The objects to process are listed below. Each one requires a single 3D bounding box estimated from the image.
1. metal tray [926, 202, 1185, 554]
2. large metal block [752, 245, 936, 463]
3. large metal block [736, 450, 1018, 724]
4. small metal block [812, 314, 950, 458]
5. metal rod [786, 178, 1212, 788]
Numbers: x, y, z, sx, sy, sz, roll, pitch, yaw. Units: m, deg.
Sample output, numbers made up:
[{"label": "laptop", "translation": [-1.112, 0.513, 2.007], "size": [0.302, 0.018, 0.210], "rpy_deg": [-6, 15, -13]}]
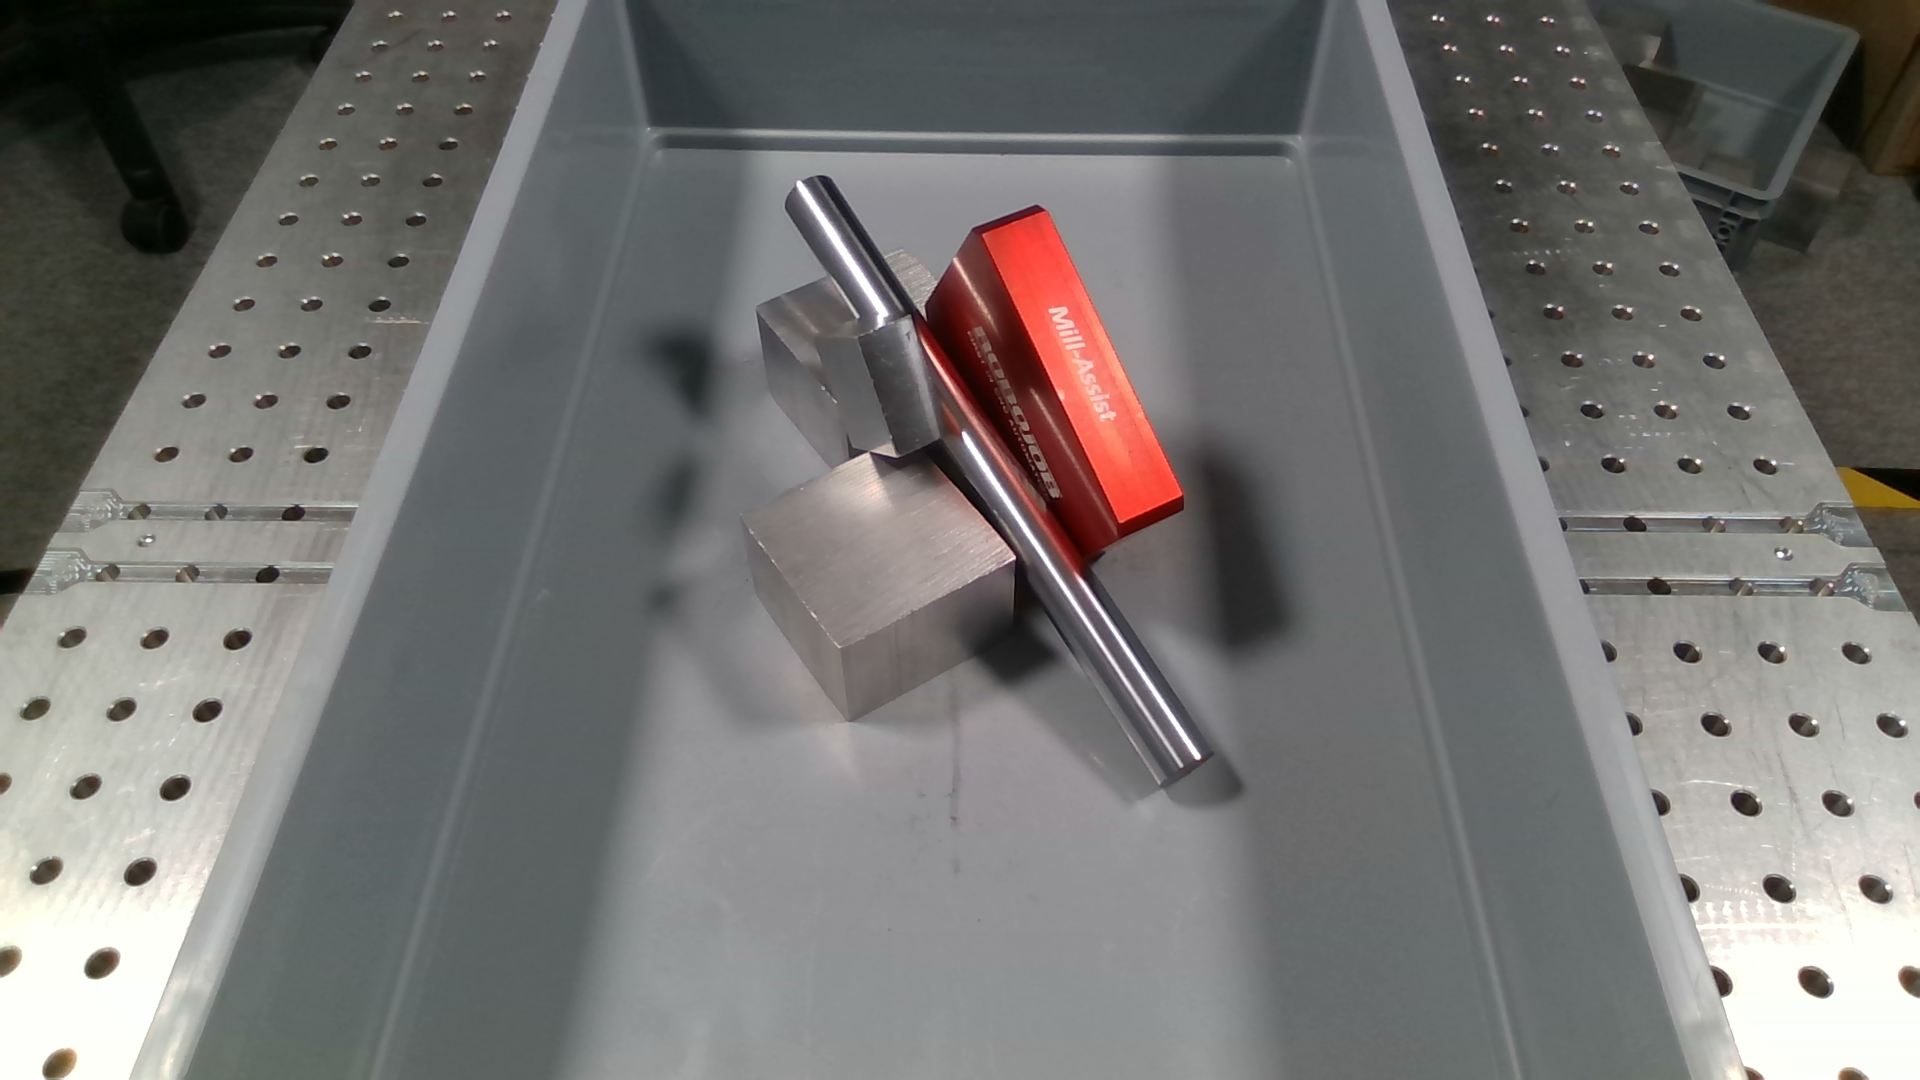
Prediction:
[{"label": "metal tray", "translation": [0.035, -0.058, 0.556], "size": [0.030, 0.090, 0.130], "rpy_deg": [-24, 86, -17]}, {"label": "large metal block", "translation": [-0.039, -0.081, 0.635], "size": [0.080, 0.050, 0.080], "rpy_deg": [-27, 55, -21]}, {"label": "large metal block", "translation": [-0.033, 0.014, 0.558], "size": [0.080, 0.050, 0.080], "rpy_deg": [-27, 55, -21]}, {"label": "small metal block", "translation": [-0.032, -0.063, 0.559], "size": [0.025, 0.050, 0.050], "rpy_deg": [-24, 18, -19]}, {"label": "metal rod", "translation": [0.009, -0.033, 0.564], "size": [0.025, 0.025, 0.299], "rpy_deg": [-25, 70, -20]}]
